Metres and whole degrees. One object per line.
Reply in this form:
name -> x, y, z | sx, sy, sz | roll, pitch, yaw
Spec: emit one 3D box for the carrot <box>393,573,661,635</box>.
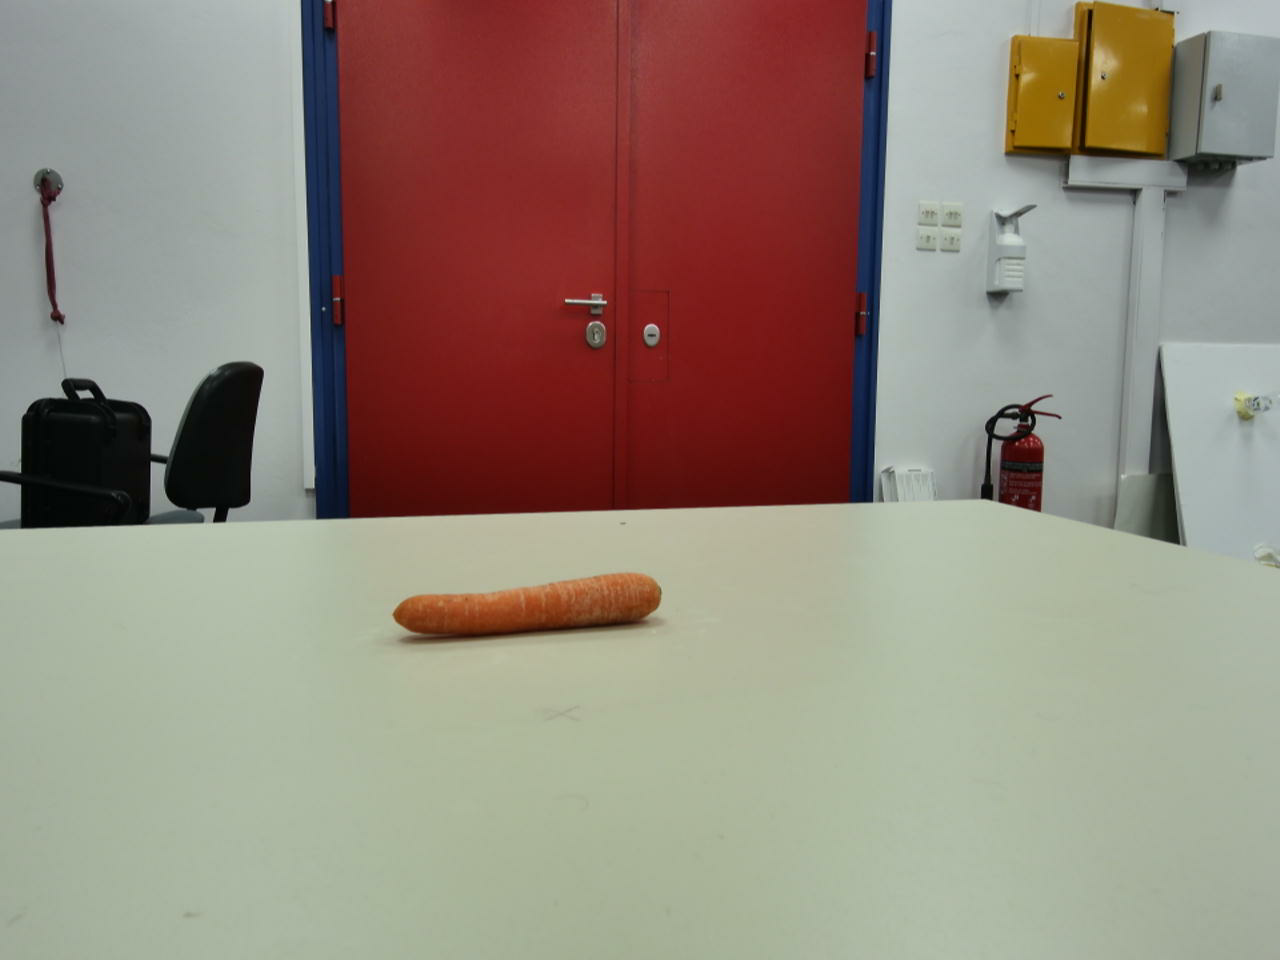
carrot -> -0.049, 0.057, 0.459 | 0.122, 0.023, 0.024 | -2, 5, -16
